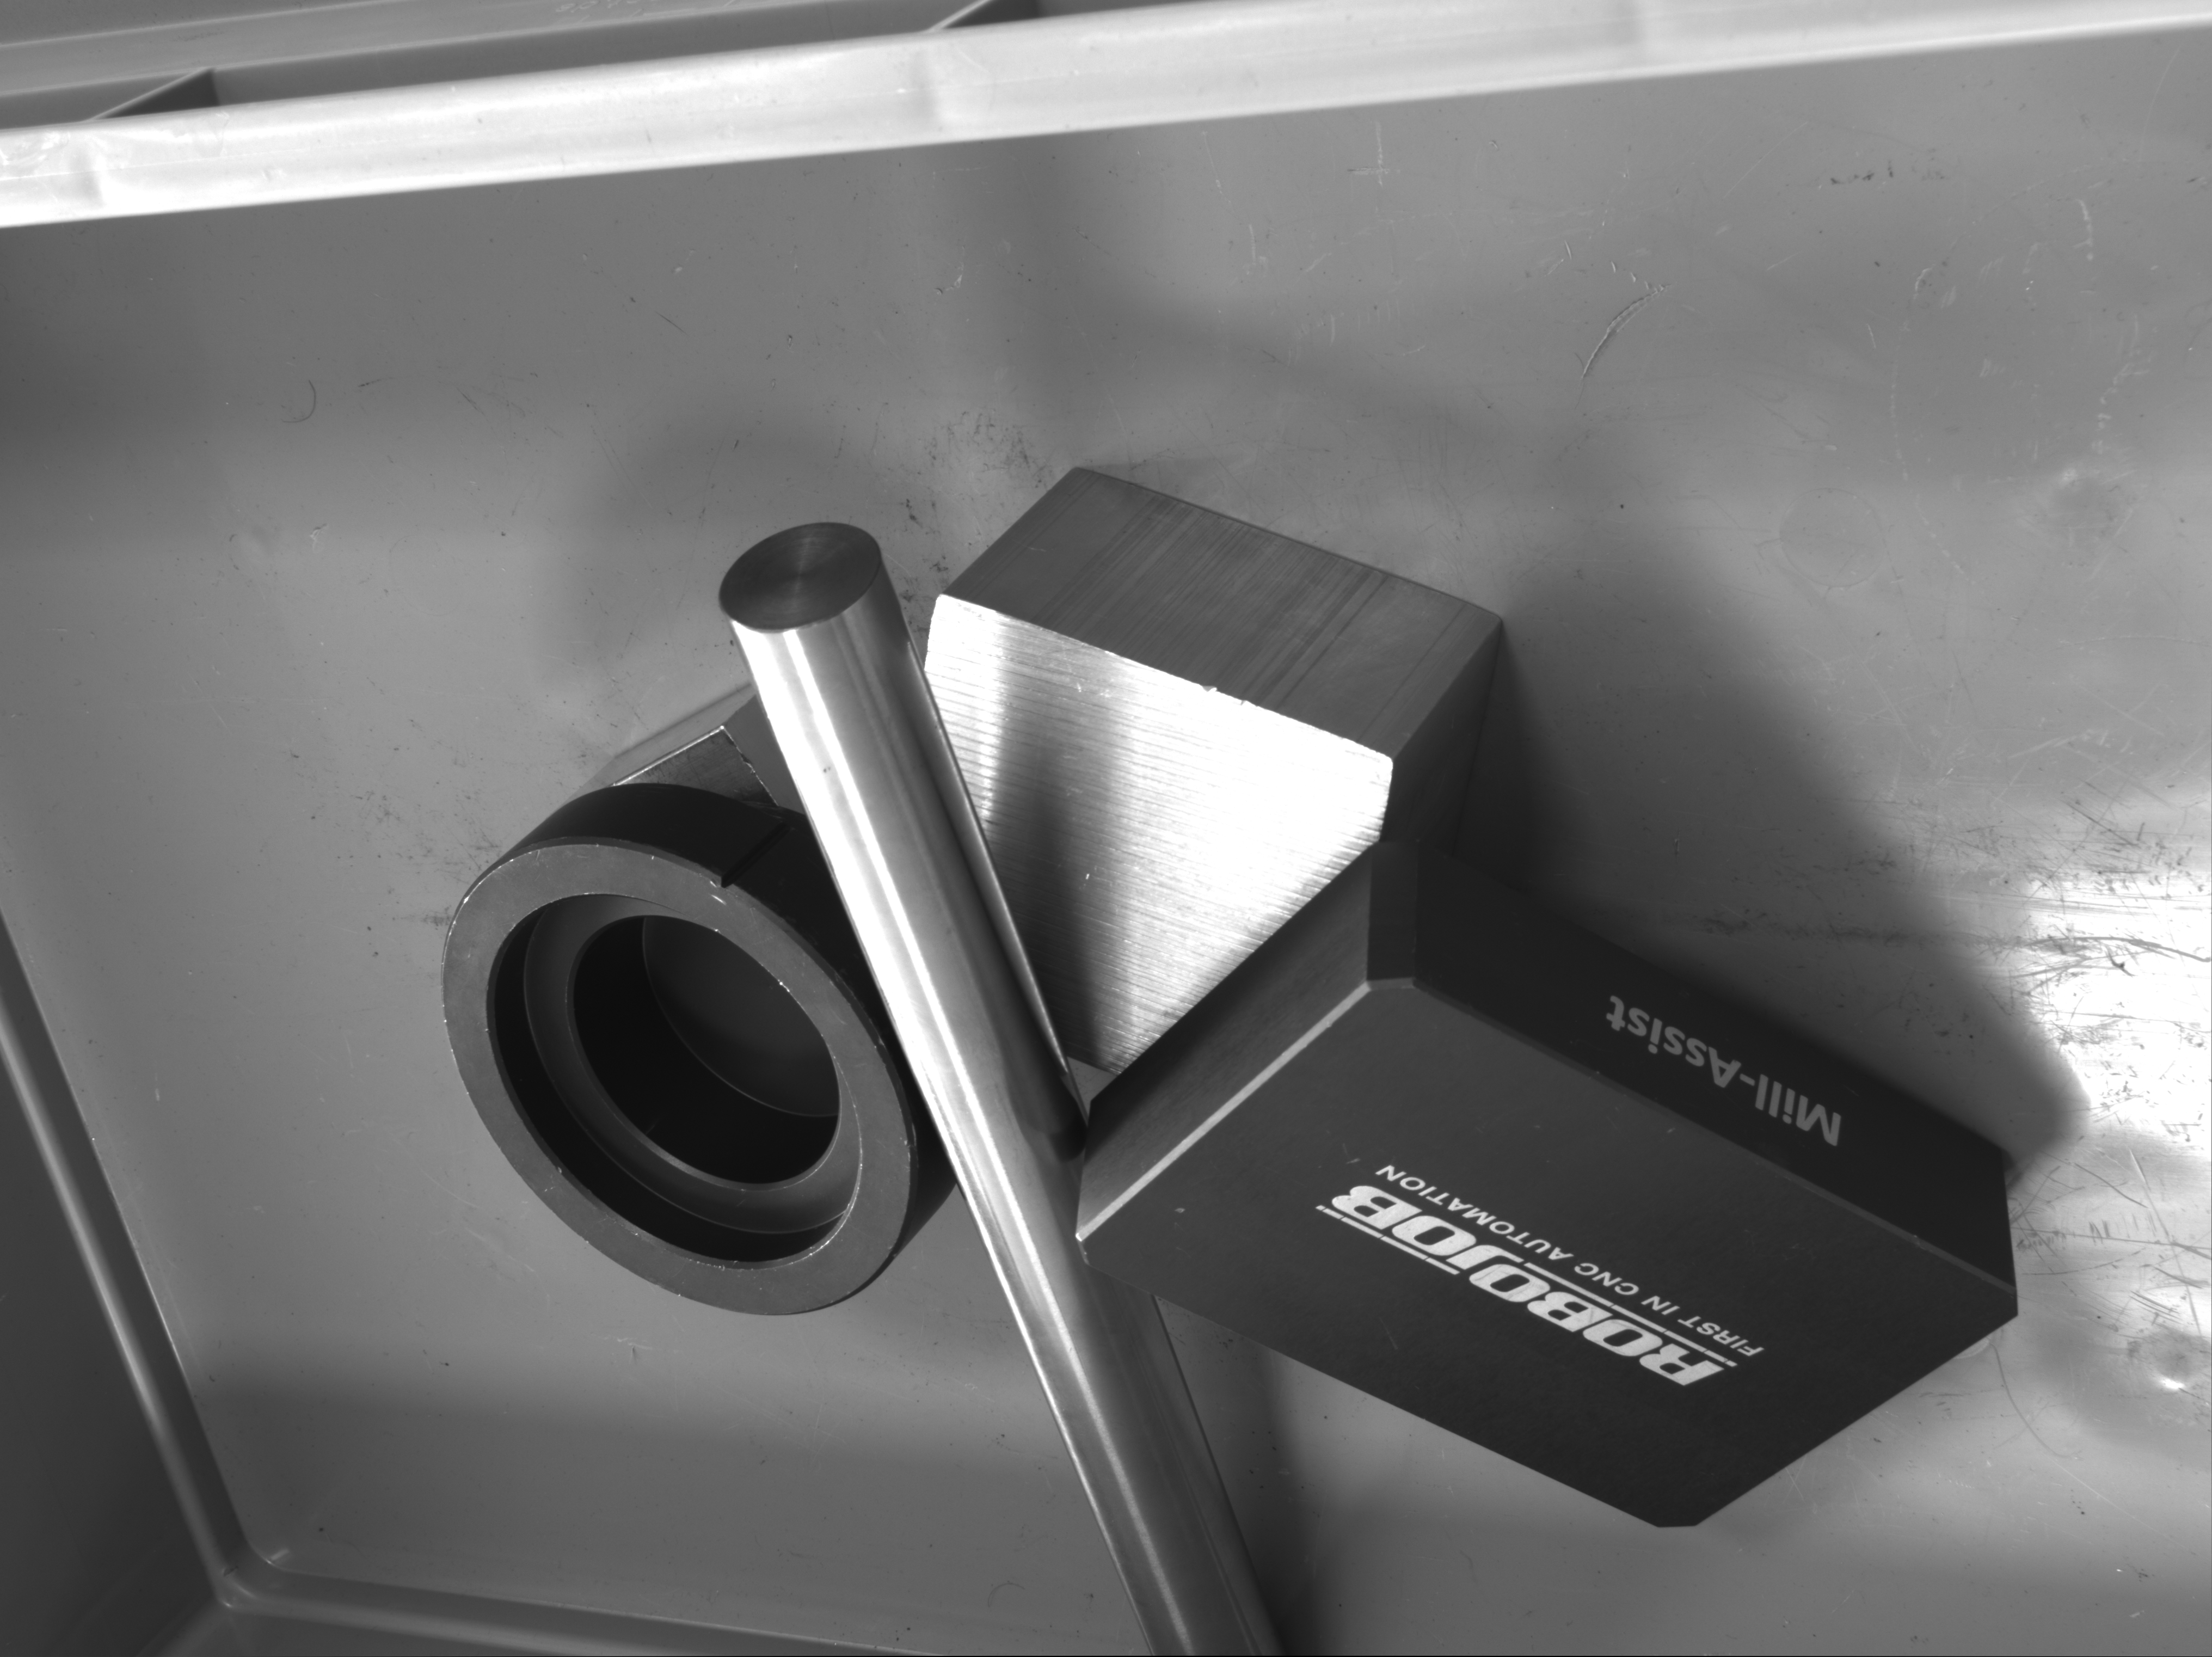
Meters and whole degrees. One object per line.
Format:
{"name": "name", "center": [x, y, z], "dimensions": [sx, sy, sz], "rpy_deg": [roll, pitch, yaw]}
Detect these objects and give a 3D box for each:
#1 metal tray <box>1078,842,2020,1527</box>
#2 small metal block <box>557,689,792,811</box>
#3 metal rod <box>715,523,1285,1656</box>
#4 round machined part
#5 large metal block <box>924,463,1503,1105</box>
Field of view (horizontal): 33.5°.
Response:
{"name": "metal tray", "center": [0.073, 0.062, 0.605], "dimensions": [0.130, 0.030, 0.090], "rpy_deg": [27, 133, -21]}
{"name": "small metal block", "center": [-0.067, 0.005, 0.681], "dimensions": [0.050, 0.025, 0.050], "rpy_deg": [-25, 105, 37]}
{"name": "metal rod", "center": [-0.009, 0.070, 0.638], "dimensions": [0.025, 0.025, 0.300], "rpy_deg": [6, 137, 25]}
{"name": "round machined part", "center": [-0.066, 0.035, 0.652], "dimensions": [0.098, 0.042, 0.098], "rpy_deg": [16, 126, 23]}
{"name": "large metal block", "center": [0.013, -0.004, 0.616], "dimensions": [0.080, 0.050, 0.080], "rpy_deg": [21, 126, 16]}
